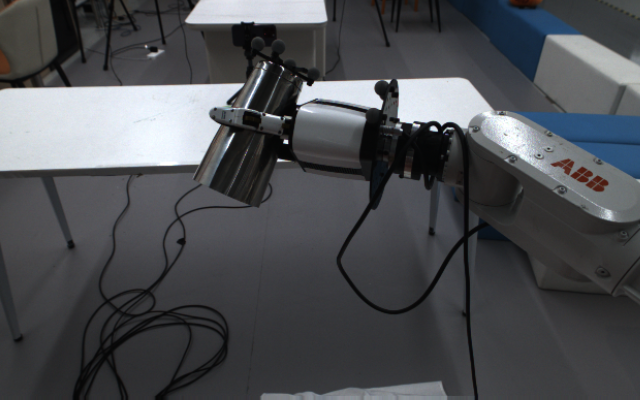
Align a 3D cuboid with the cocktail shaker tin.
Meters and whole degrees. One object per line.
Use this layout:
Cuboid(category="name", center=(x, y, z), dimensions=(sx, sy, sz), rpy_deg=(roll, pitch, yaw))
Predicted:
Cuboid(category="cocktail shaker tin", center=(-0.084, -0.089, 0.620), dimensions=(0.093, 0.170, 0.093), rpy_deg=(23, 0, 0))
